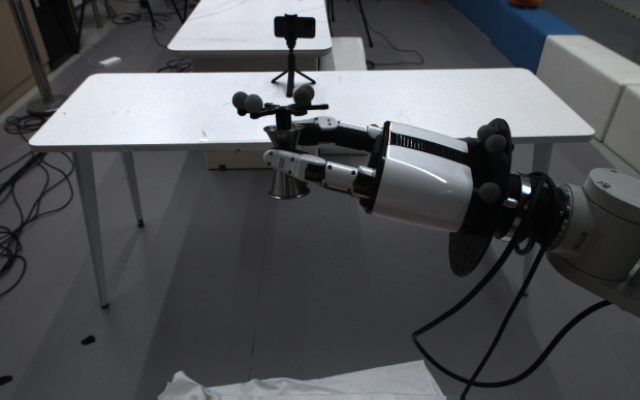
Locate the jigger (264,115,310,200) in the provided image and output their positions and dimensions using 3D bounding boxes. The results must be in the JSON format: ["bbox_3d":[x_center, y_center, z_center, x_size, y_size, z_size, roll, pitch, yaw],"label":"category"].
[{"bbox_3d":[-0.033,-0.039,0.486,0.043,0.071,0.043,-2,19,1],"label":"jigger"}]
